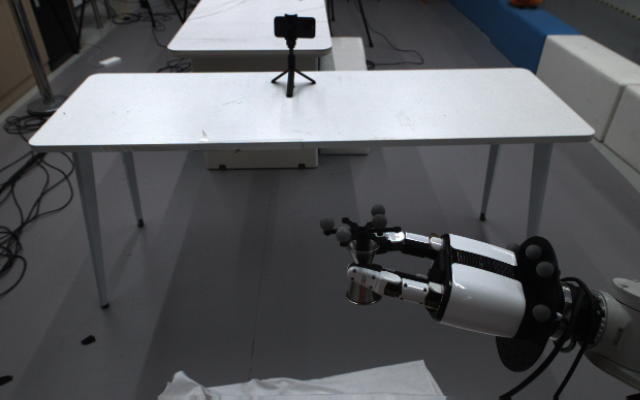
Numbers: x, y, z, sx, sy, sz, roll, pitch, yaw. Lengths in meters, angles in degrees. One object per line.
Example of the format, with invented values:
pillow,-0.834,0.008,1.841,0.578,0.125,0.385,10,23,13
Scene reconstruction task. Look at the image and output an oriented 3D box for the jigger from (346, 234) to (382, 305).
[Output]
jigger,0.052,0.083,0.574,0.043,0.071,0.043,-2,19,1
